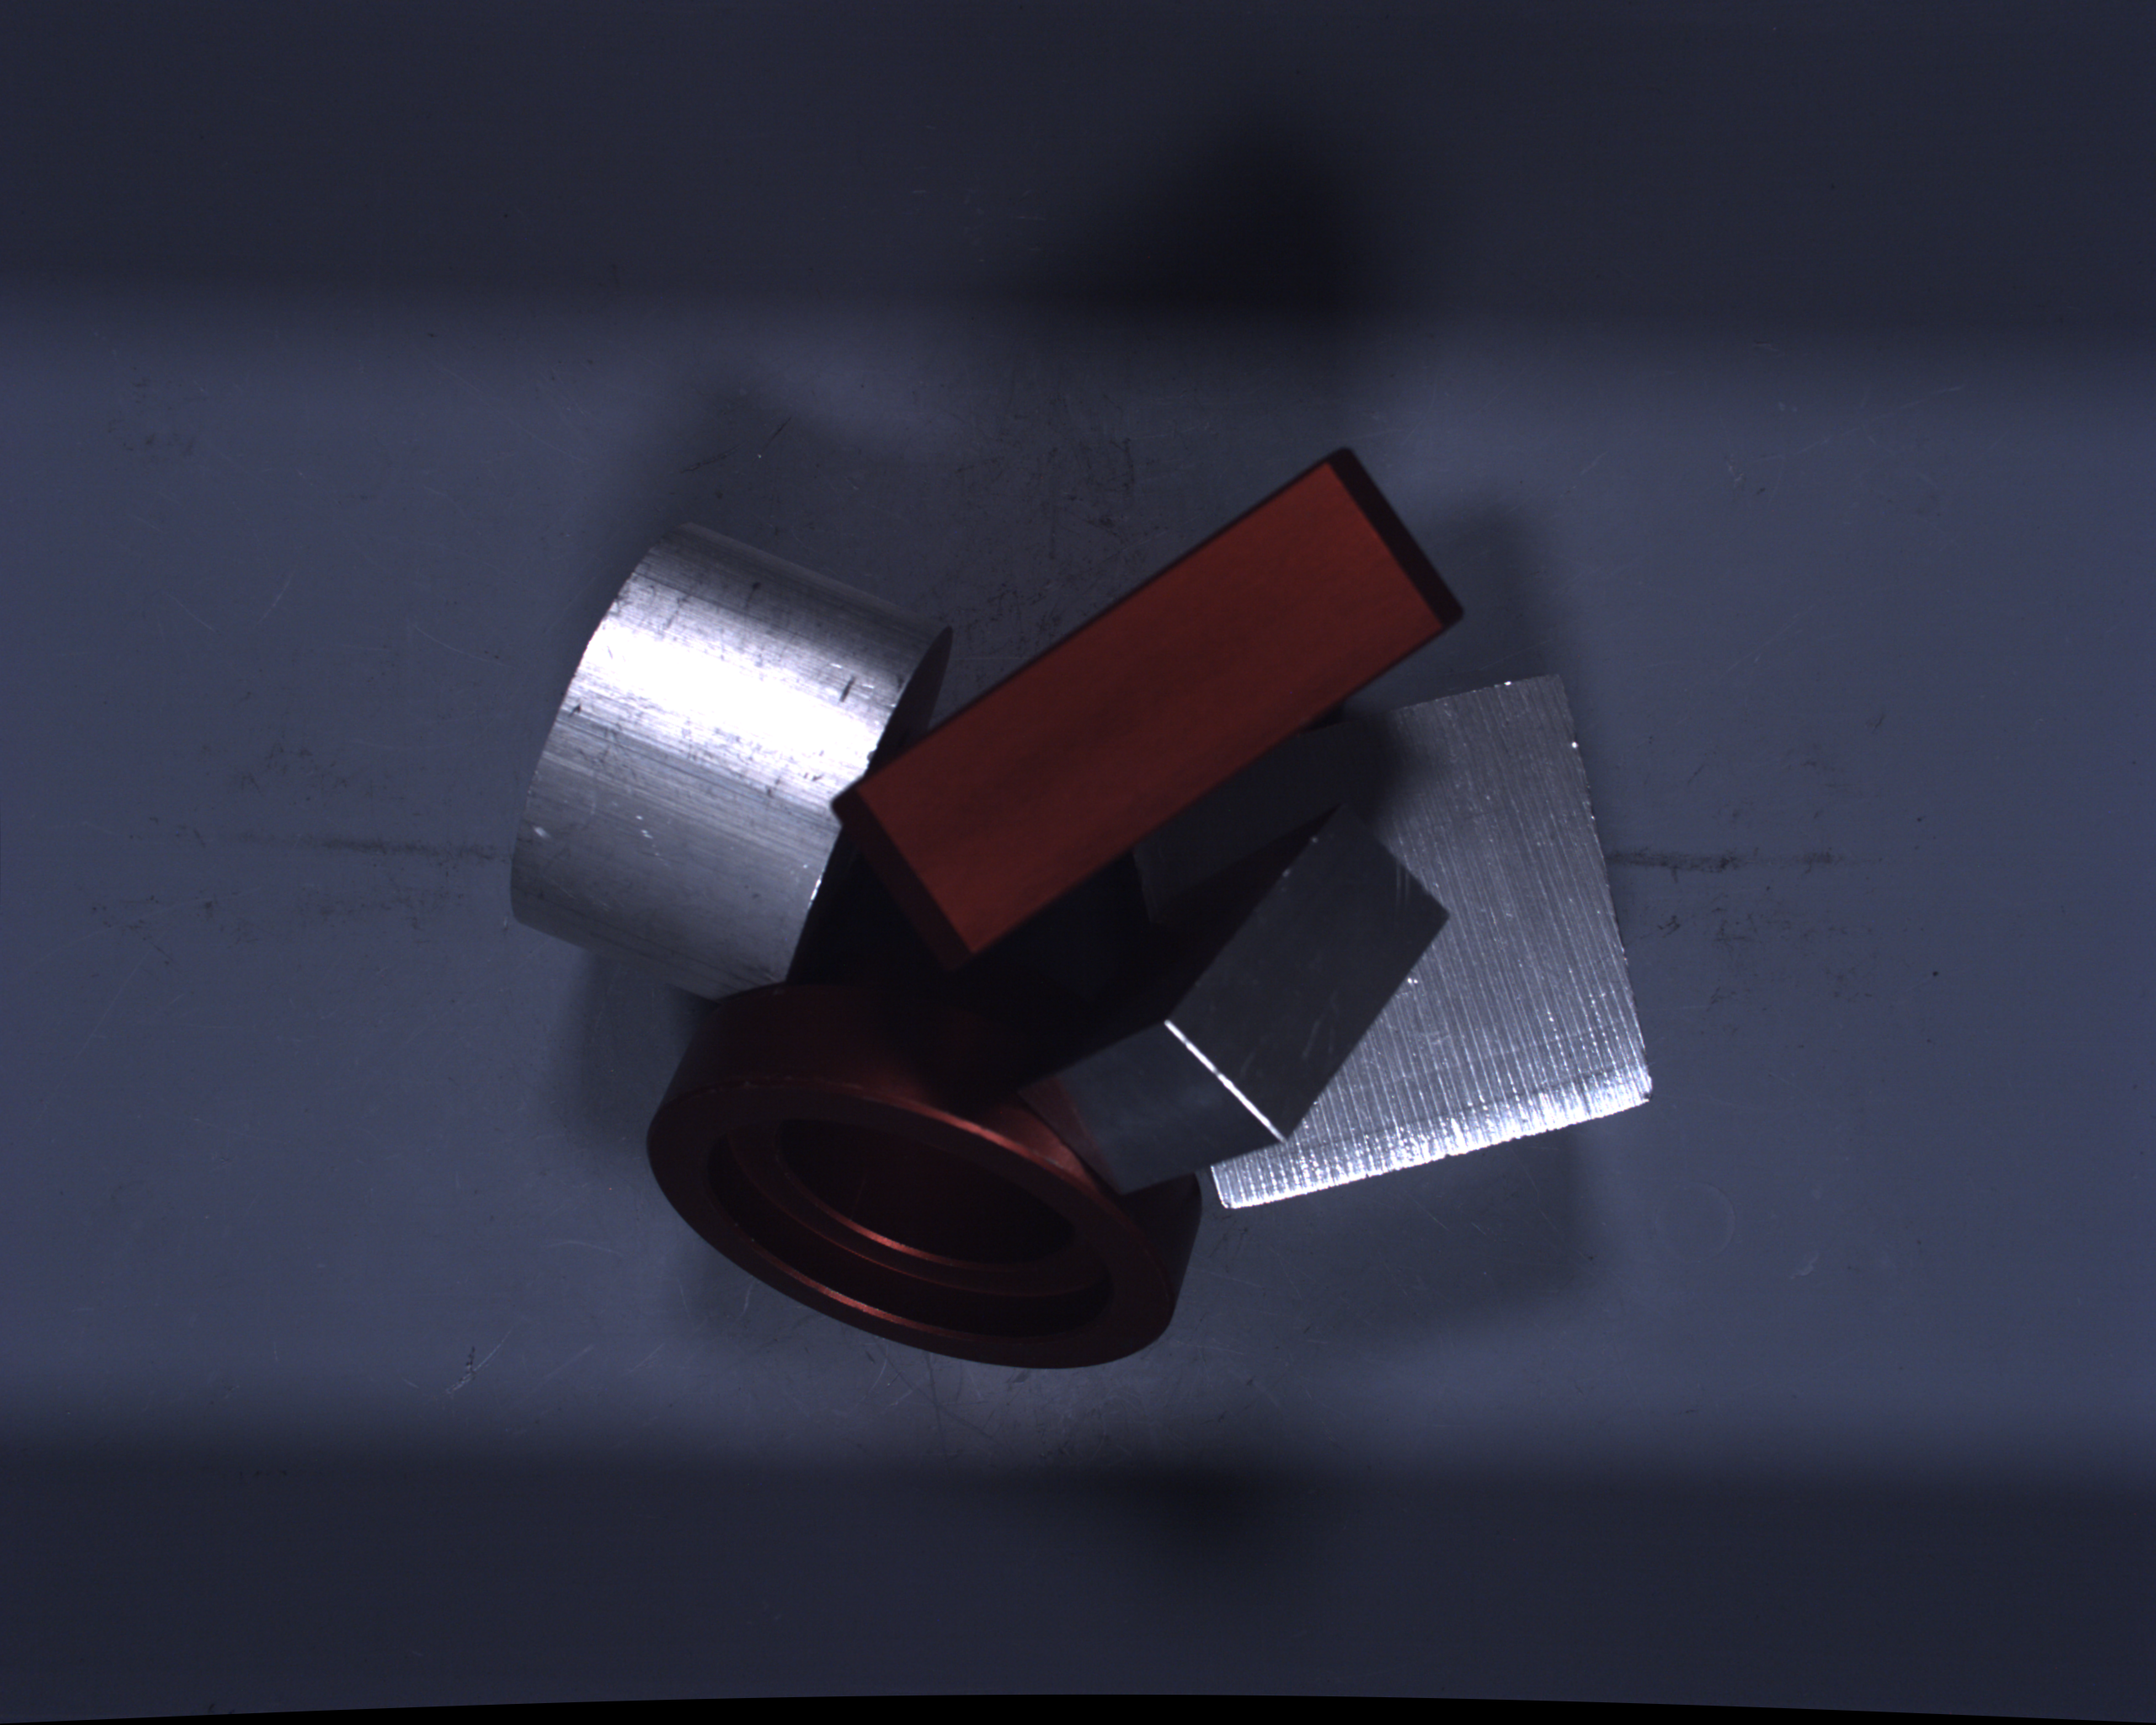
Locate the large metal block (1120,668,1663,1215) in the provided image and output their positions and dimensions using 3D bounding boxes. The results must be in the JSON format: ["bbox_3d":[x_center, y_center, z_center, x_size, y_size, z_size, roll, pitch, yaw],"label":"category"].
[{"bbox_3d":[0.054,0.012,0.391,0.080,0.050,0.080,-14,95,-1],"label":"large metal block"}]

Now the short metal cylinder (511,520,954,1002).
[{"bbox_3d":[-0.062,-0.016,0.381,0.050,0.080,0.080,23,90,-1],"label":"short metal cylinder"}]

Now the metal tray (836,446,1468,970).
[{"bbox_3d":[0.010,-0.023,0.357,0.090,0.130,0.030,-35,91,0],"label":"metal tray"}]

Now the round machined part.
[{"bbox_3d":[-0.024,0.051,0.383,0.098,0.097,0.042,20,55,-1],"label":"round machined part"}]

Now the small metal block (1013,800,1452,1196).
[{"bbox_3d":[0.024,0.022,0.329,0.025,0.050,0.050,46,58,-7],"label":"small metal block"}]
